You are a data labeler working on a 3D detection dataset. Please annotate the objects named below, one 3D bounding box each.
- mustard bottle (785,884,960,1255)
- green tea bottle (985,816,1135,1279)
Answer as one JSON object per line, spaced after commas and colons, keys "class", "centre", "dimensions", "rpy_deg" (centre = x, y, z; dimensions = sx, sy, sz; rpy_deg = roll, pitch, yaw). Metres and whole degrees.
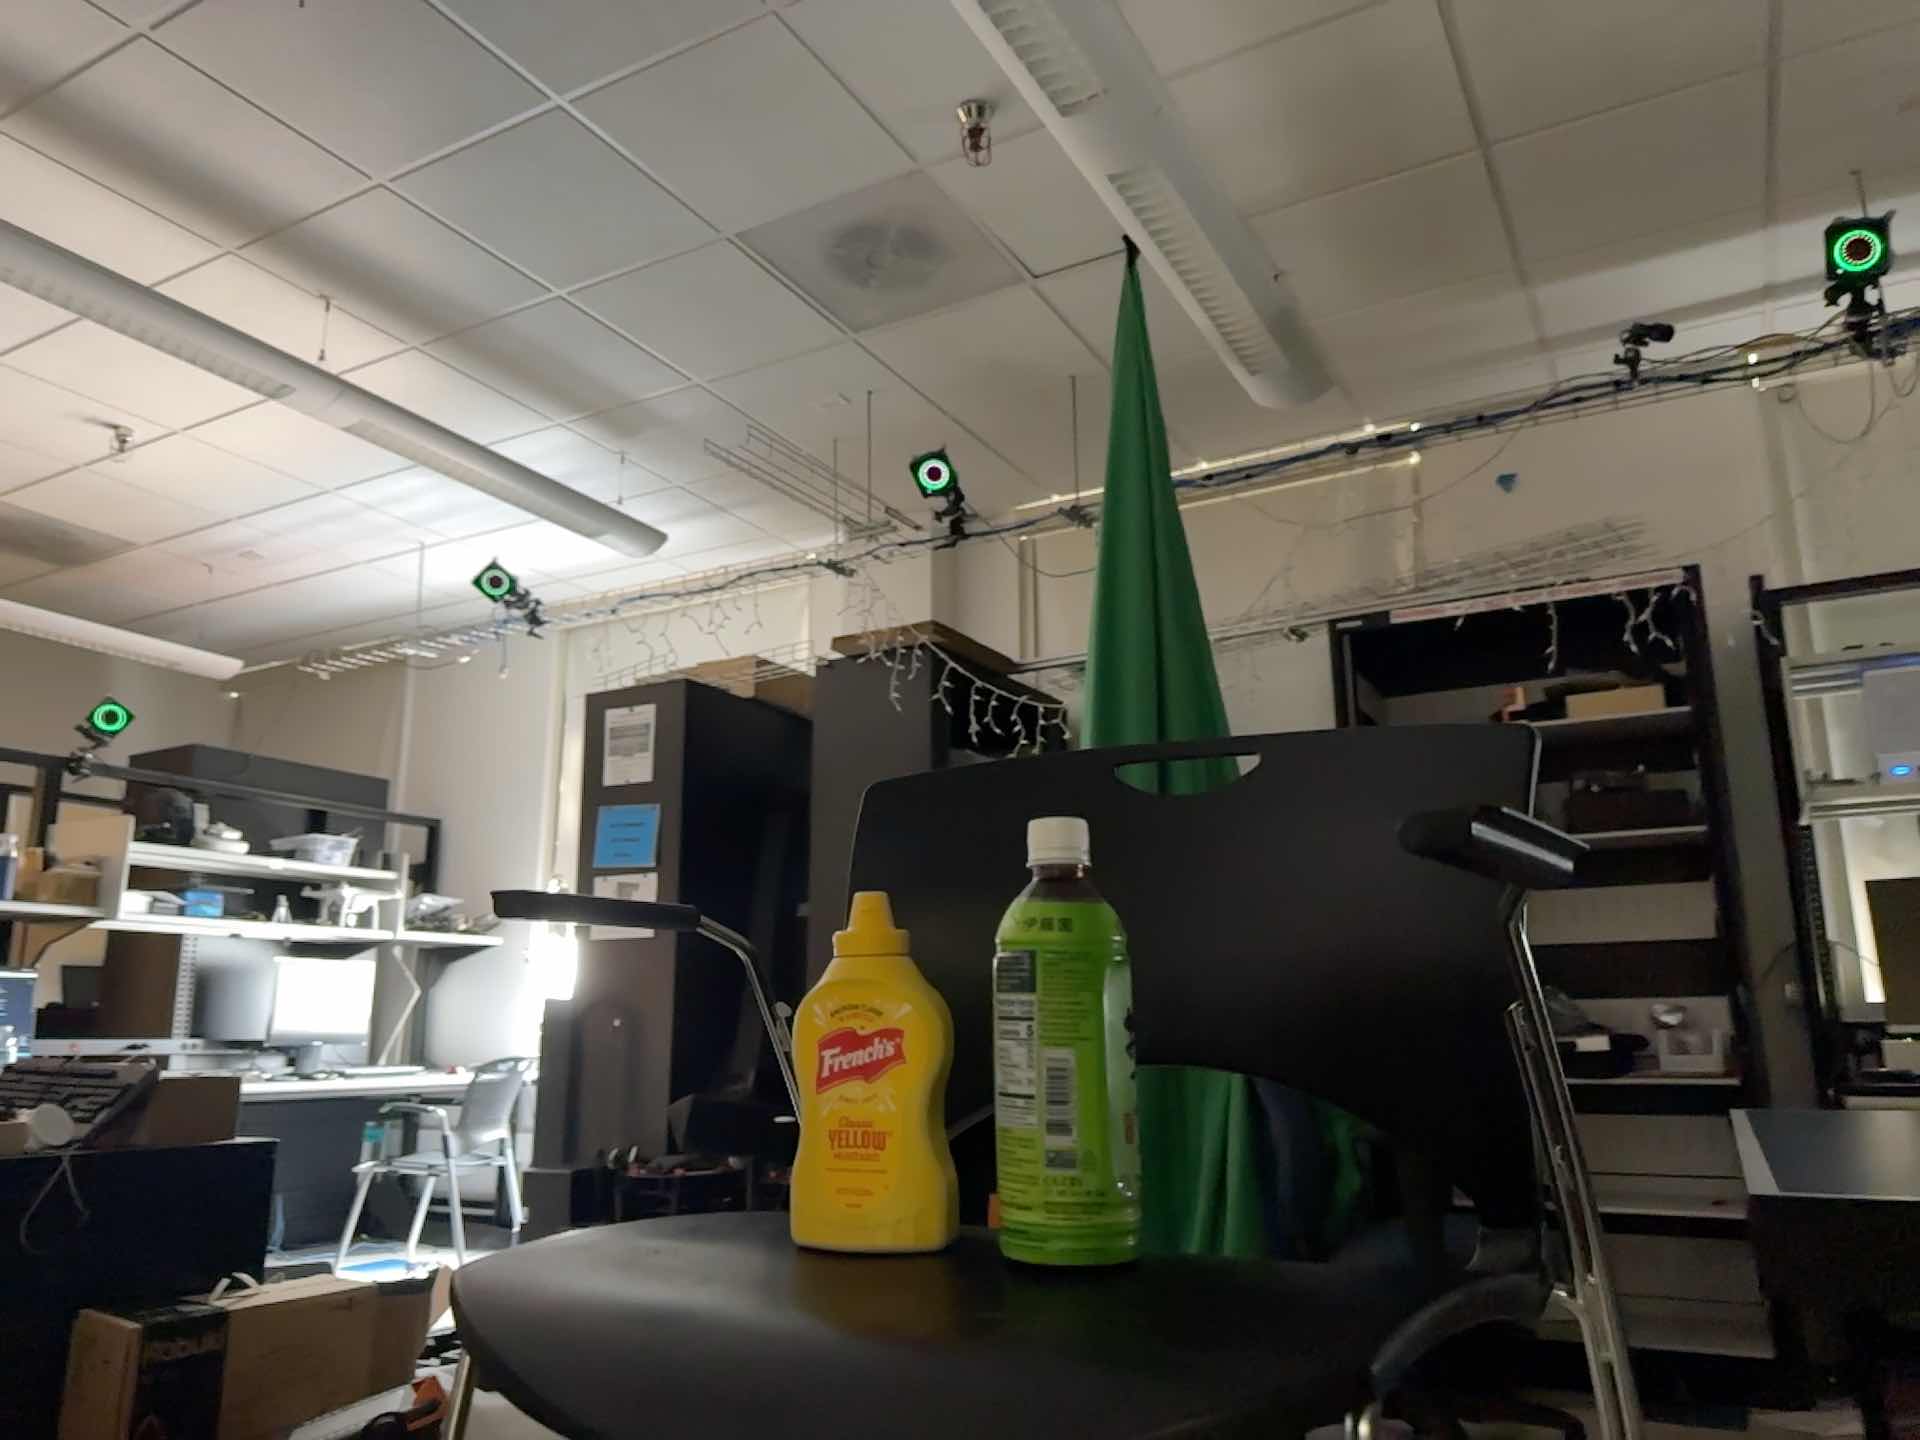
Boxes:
{"class": "mustard bottle", "centre": [-0.047, 0.179, 0.707], "dimensions": [0.092, 0.184, 0.054], "rpy_deg": [-5, -11, 25]}
{"class": "green tea bottle", "centre": [0.047, 0.153, 0.654], "dimensions": [0.073, 0.212, 0.073], "rpy_deg": [0, -9, 0]}
